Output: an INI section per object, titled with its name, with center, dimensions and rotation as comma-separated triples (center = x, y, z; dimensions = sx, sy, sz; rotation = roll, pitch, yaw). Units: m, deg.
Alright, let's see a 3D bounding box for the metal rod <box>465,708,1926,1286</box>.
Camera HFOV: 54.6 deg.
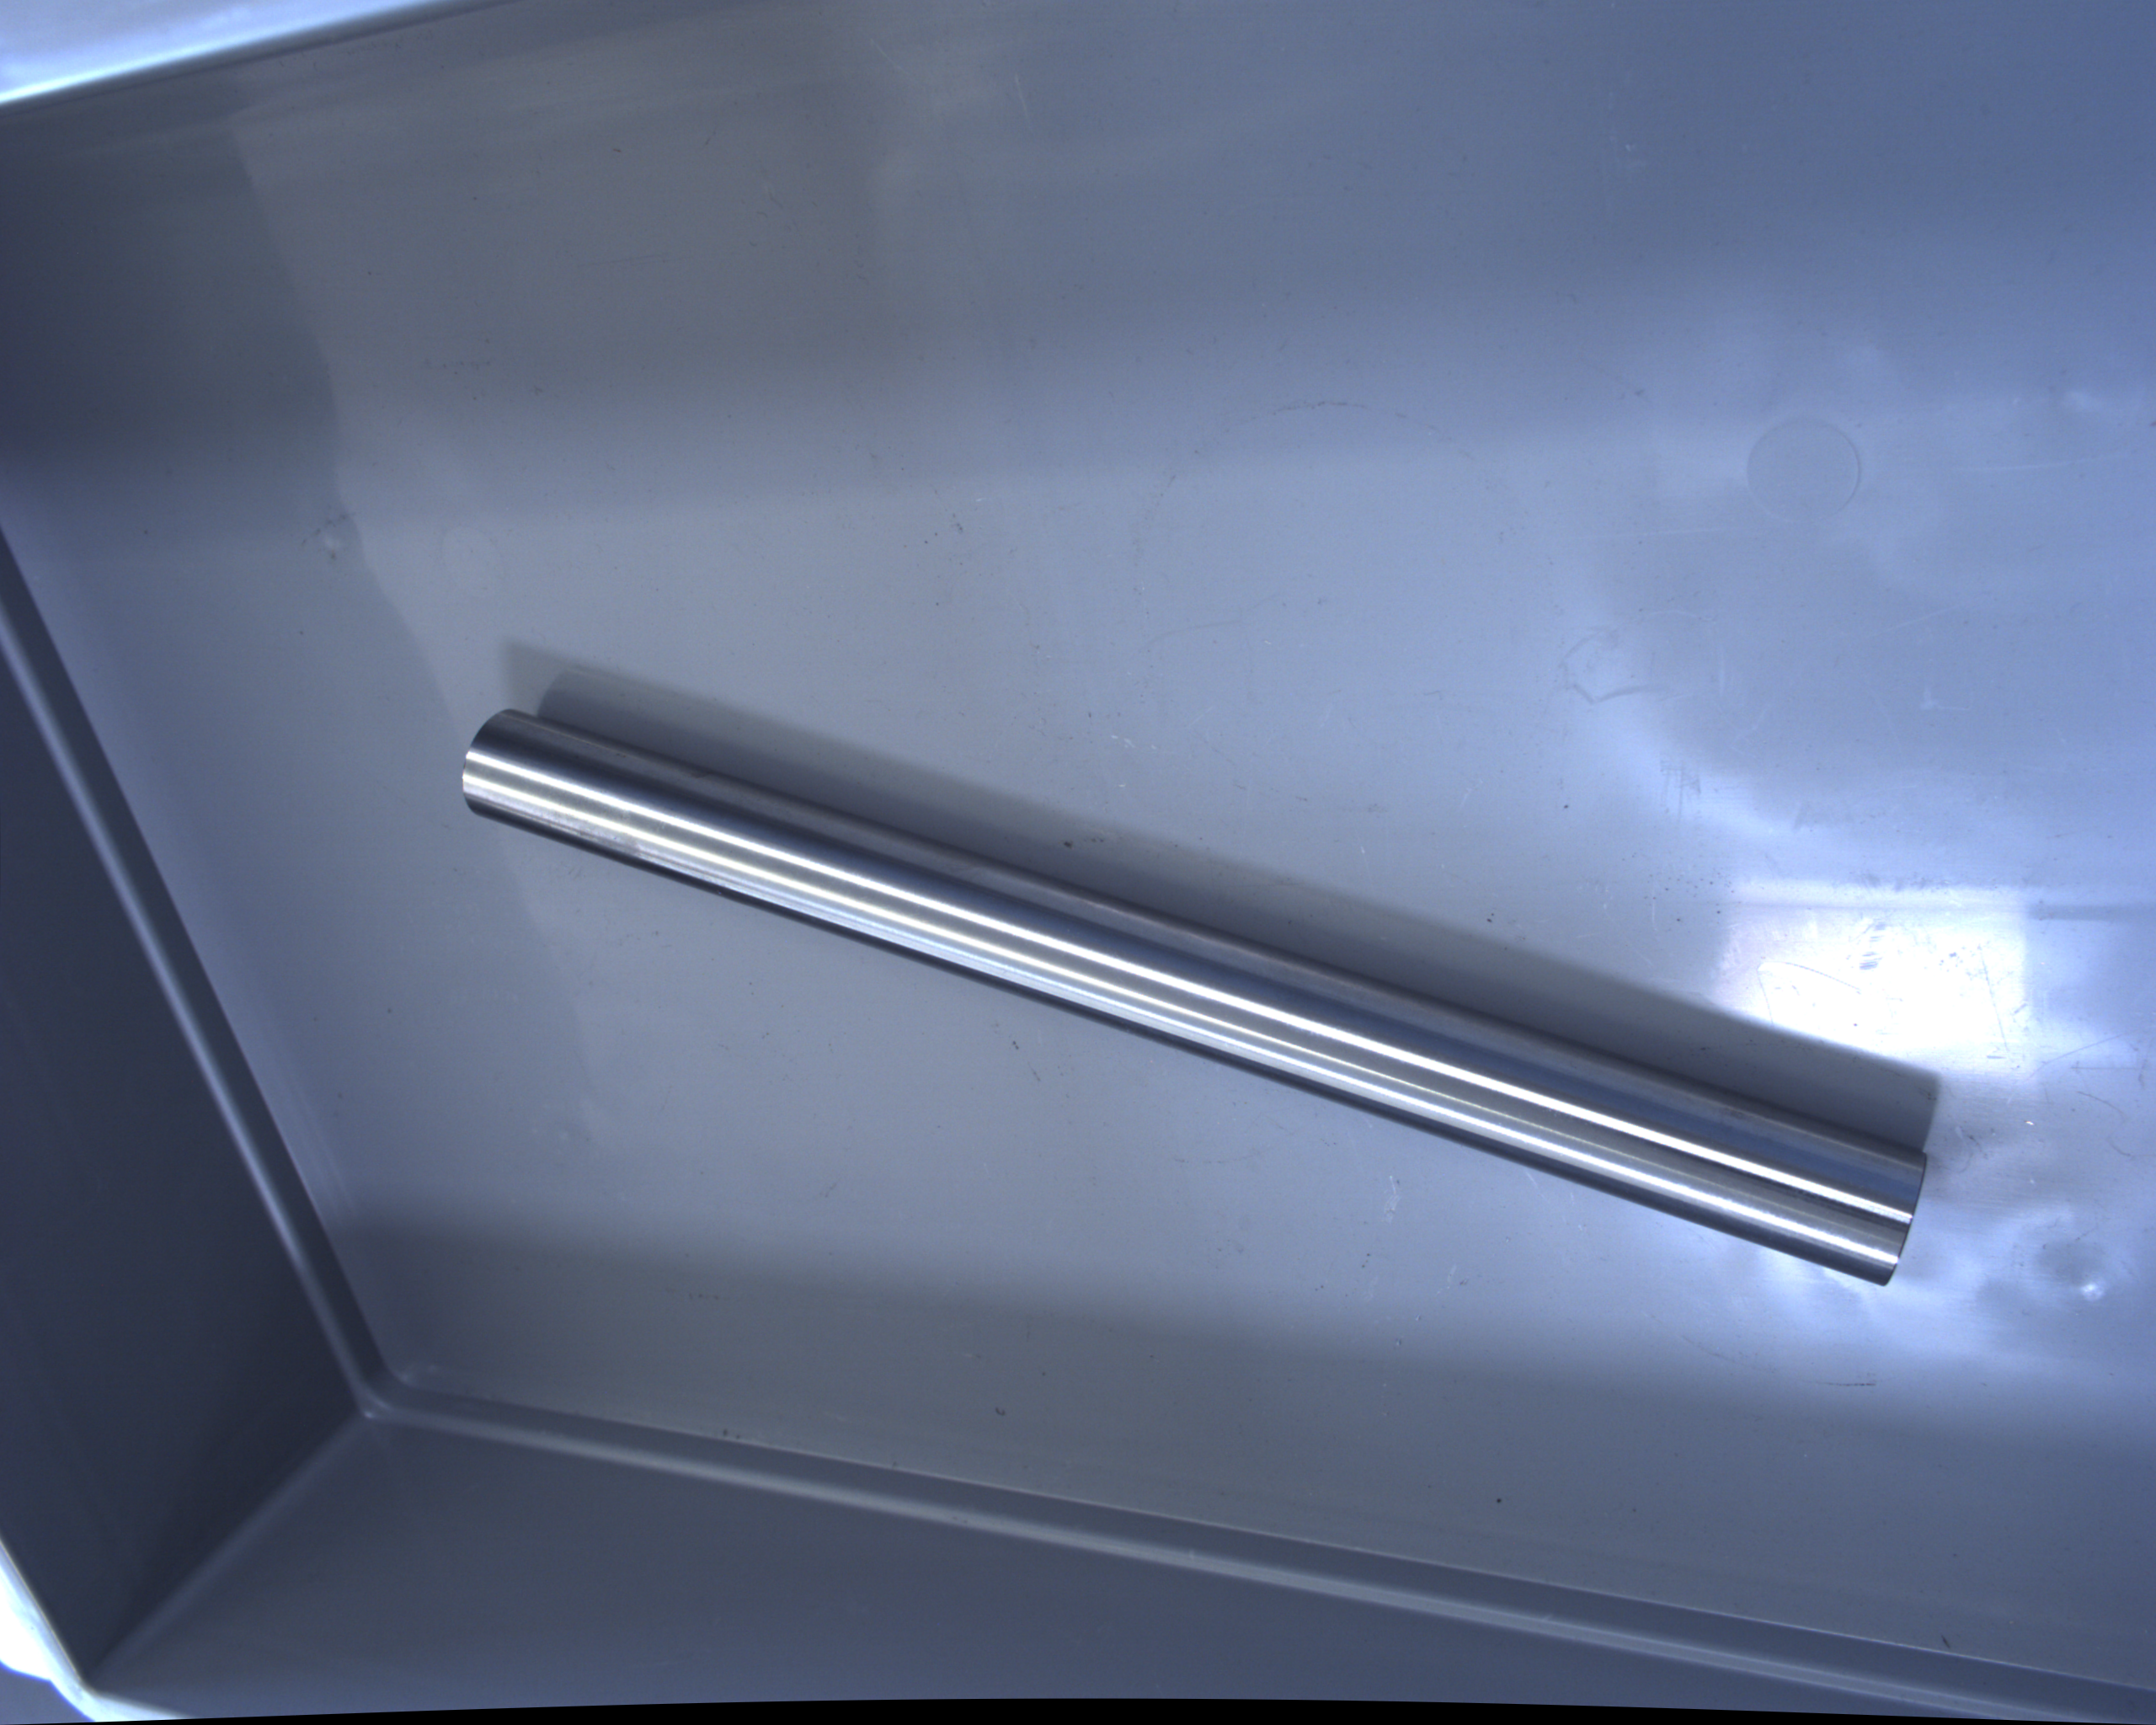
[metal rod]
center = 0.009, 0.020, 0.415
dimensions = 0.301, 0.025, 0.025
rotation = 17, 125, 18
